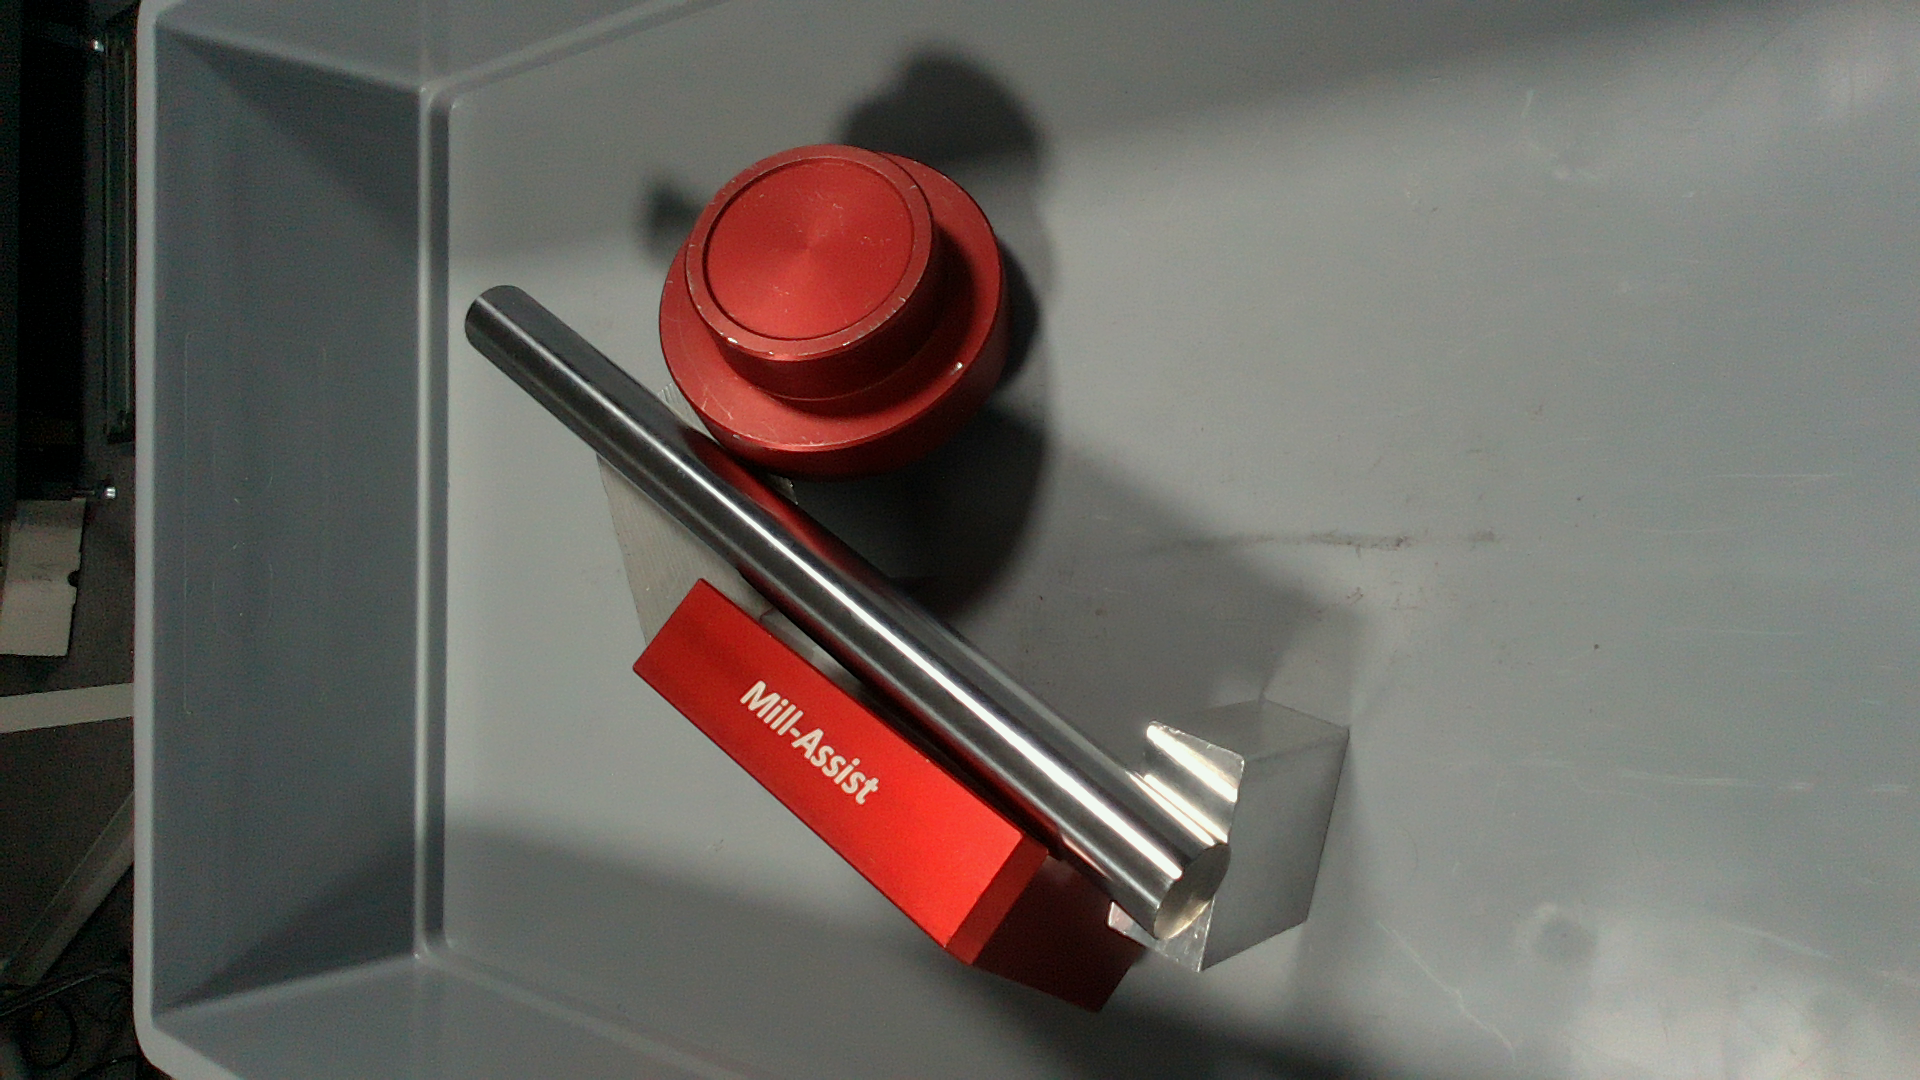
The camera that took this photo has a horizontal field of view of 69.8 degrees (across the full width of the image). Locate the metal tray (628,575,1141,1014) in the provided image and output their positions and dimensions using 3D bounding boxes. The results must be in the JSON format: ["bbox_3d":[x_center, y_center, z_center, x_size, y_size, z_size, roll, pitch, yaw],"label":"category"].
[{"bbox_3d":[-0.018,0.066,0.362,0.130,0.090,0.030,33,83,35],"label":"metal tray"}]

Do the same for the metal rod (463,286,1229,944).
[{"bbox_3d":[-0.052,0.001,0.370,0.299,0.025,0.025,36,112,34],"label":"metal rod"}]

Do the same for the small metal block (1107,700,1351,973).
[{"bbox_3d":[0.064,0.067,0.323,0.025,0.050,0.050,18,102,39],"label":"small metal block"}]

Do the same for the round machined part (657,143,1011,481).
[{"bbox_3d":[-0.037,-0.069,0.379,0.098,0.042,0.098,-3,65,8],"label":"round machined part"}]

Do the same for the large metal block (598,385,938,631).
[{"bbox_3d":[-0.063,-0.010,0.429,0.080,0.050,0.080,-29,72,37],"label":"large metal block"}]
